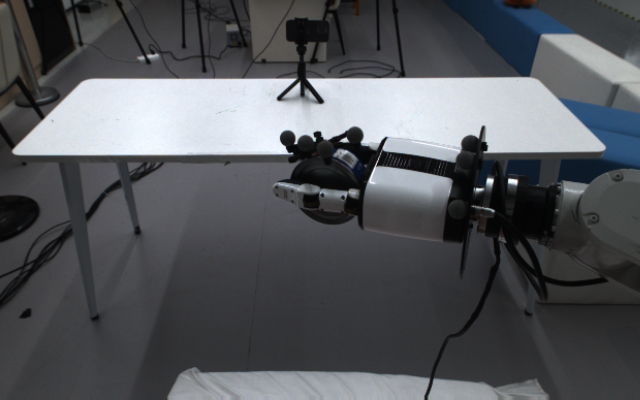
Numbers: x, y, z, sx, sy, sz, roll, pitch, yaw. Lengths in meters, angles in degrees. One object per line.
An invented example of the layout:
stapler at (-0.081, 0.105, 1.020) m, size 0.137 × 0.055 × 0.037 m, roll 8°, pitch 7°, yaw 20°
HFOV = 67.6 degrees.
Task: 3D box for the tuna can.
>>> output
tuna can at (0.014, -0.017, 0.547) m, size 0.085 × 0.085 × 0.034 m, roll 14°, pitch 34°, yaw 17°
